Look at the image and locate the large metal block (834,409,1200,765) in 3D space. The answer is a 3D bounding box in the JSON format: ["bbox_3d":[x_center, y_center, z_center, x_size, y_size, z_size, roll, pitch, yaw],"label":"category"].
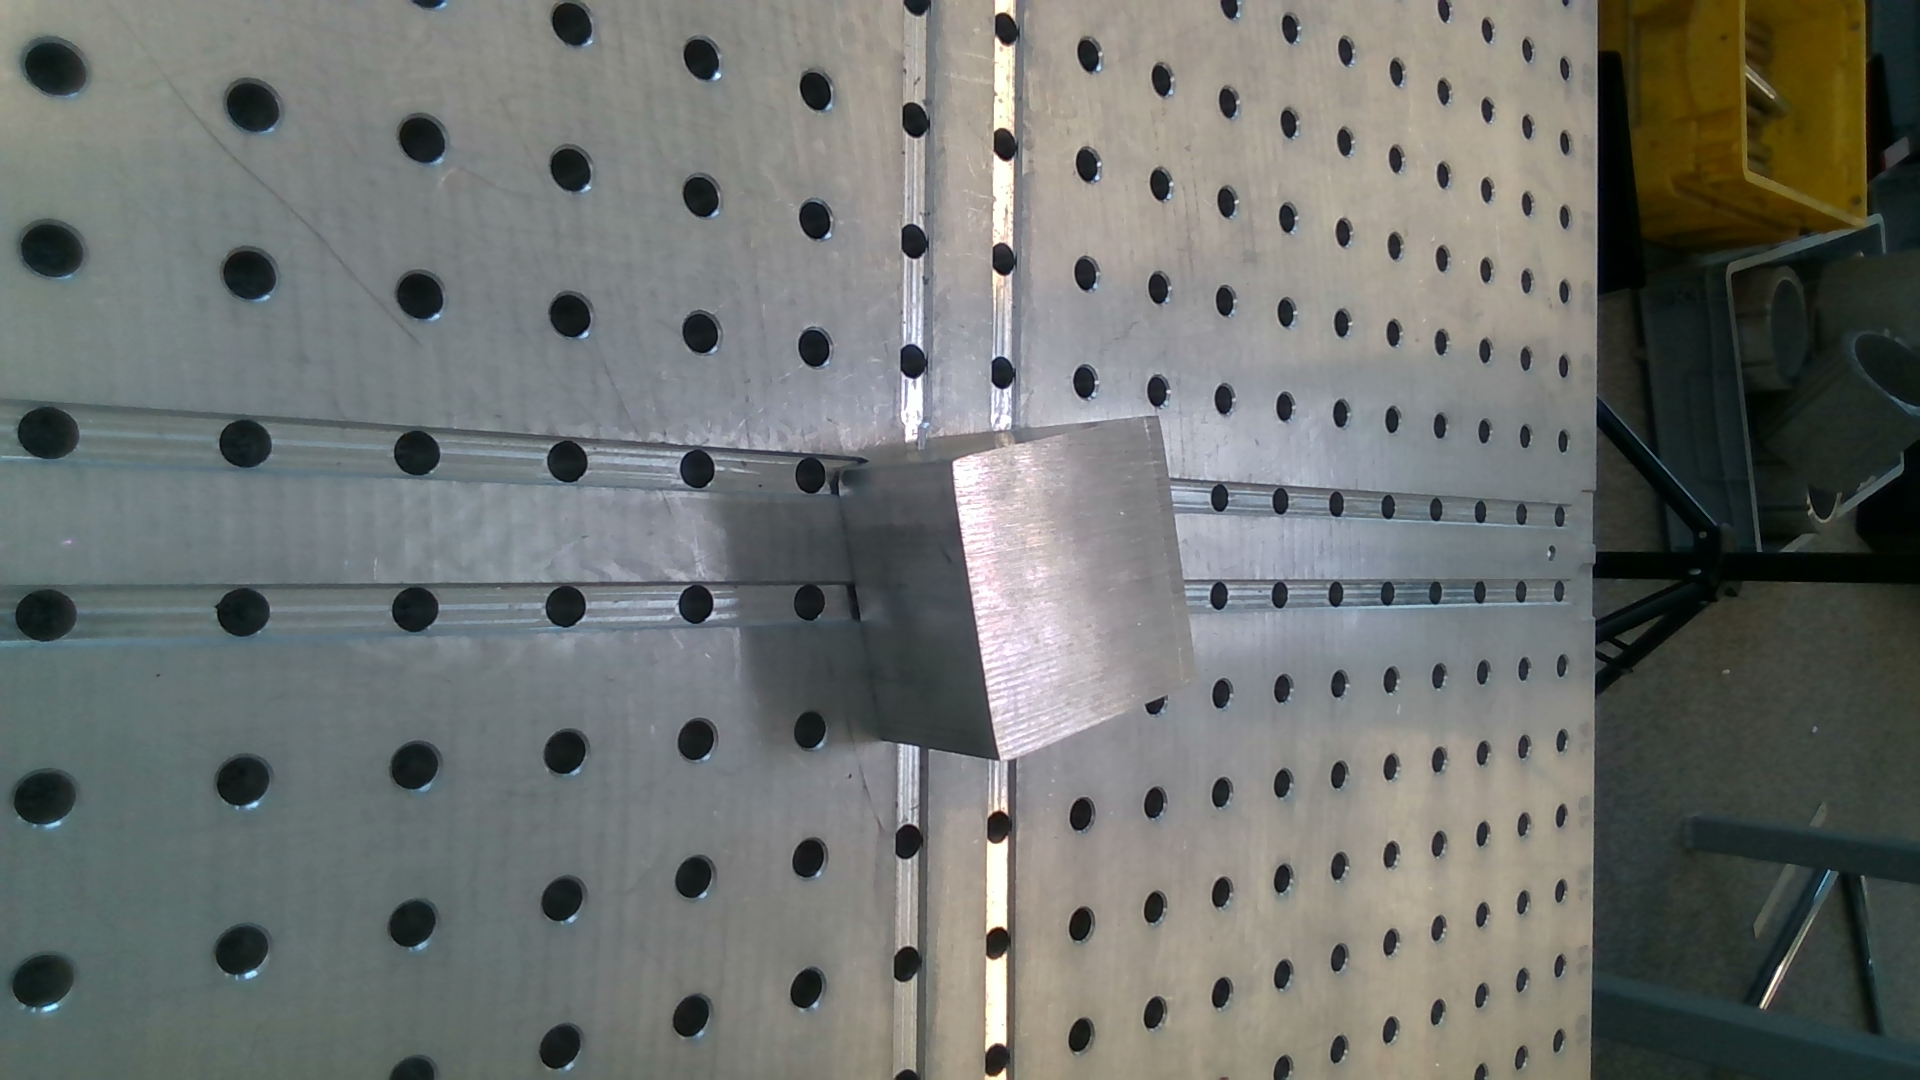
[{"bbox_3d":[0.018,0.010,0.391,0.080,0.050,0.080,-16,100,-39],"label":"large metal block"}]
